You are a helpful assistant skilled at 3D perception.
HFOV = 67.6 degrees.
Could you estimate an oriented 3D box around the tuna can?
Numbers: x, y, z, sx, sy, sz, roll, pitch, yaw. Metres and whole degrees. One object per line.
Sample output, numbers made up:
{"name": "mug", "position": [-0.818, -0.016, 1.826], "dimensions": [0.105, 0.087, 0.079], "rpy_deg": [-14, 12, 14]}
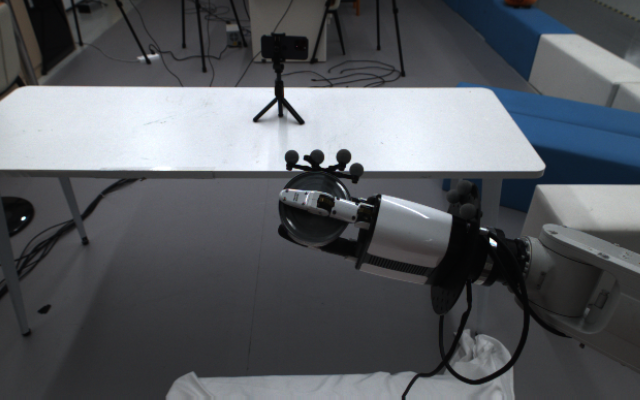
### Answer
{"name": "tuna can", "position": [-0.005, 0.009, 0.568], "dimensions": [0.085, 0.034, 0.085], "rpy_deg": [1, 72, -3]}
